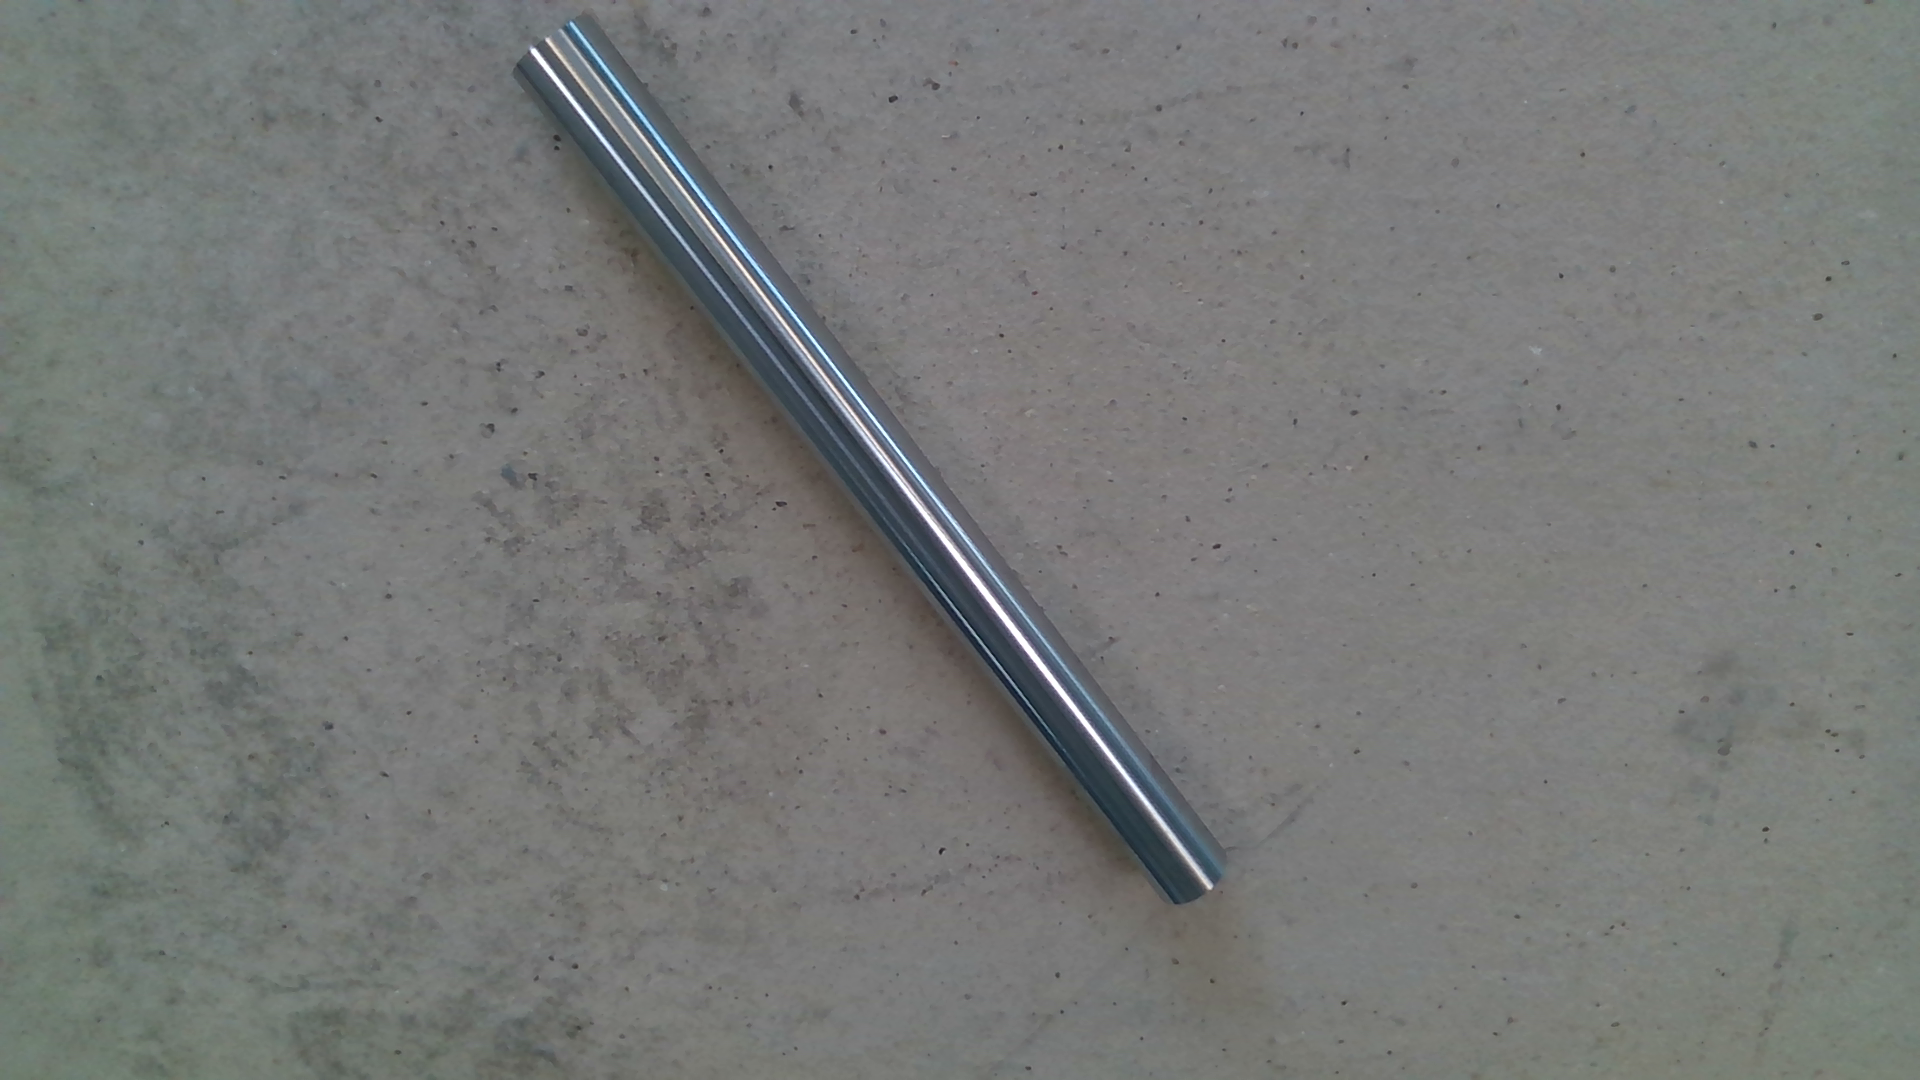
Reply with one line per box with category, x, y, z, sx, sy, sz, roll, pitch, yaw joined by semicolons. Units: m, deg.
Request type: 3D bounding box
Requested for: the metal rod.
metal rod;-0.015;-0.011;0.389;0.025;0.025;0.300;-34;107;12
